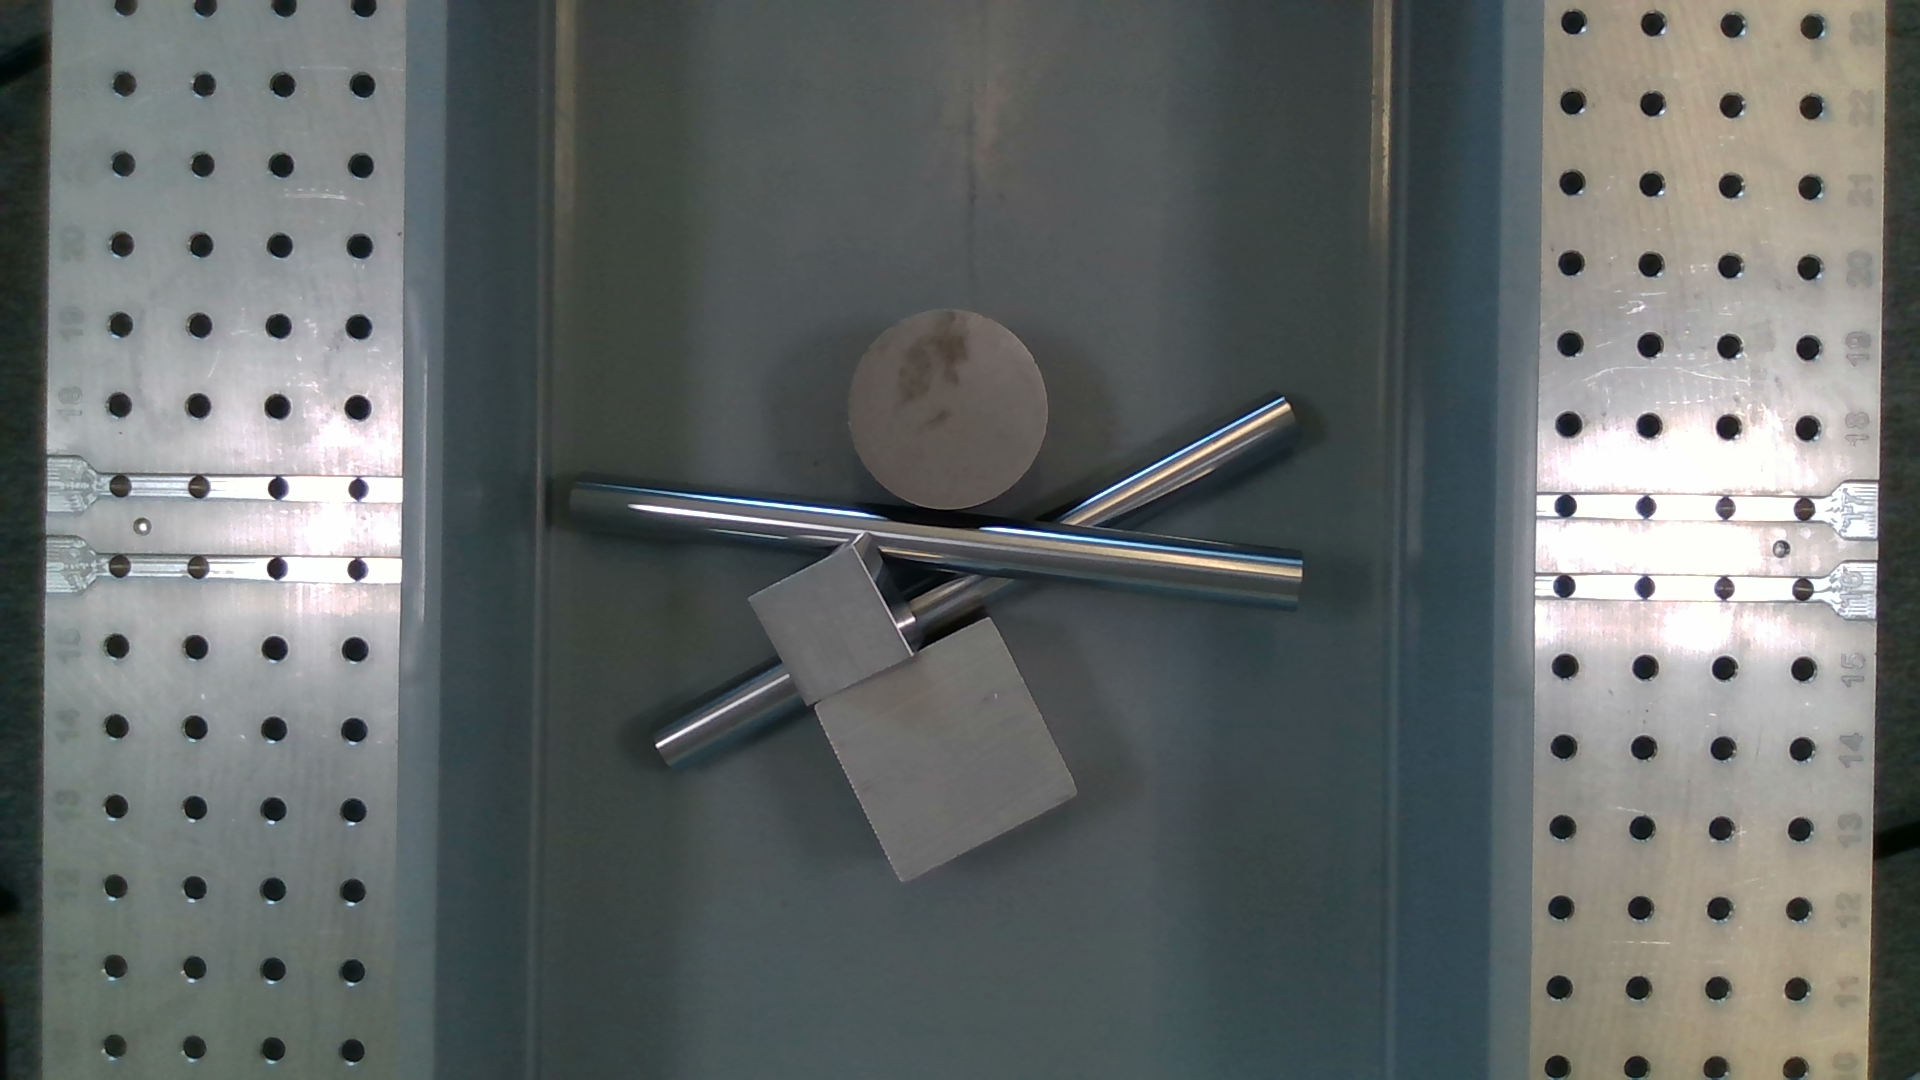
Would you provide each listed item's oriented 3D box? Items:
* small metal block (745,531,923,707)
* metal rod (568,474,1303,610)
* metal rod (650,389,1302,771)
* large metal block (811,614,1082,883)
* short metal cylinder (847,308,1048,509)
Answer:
[{"bbox_3d":[-0.050,0.032,0.555,0.050,0.025,0.050,-26,99,15],"label":"small metal block"},{"bbox_3d":[-0.014,0.000,0.566,0.300,0.025,0.025,6,90,8],"label":"metal rod"},{"bbox_3d":[0.006,0.017,0.586,0.300,0.025,0.025,-28,90,1],"label":"metal rod"},{"bbox_3d":[-0.005,0.083,0.574,0.080,0.050,0.080,-27,90,0],"label":"large metal block"},{"bbox_3d":[-0.005,-0.053,0.573,0.080,0.050,0.080,0,91,0],"label":"short metal cylinder"}]
